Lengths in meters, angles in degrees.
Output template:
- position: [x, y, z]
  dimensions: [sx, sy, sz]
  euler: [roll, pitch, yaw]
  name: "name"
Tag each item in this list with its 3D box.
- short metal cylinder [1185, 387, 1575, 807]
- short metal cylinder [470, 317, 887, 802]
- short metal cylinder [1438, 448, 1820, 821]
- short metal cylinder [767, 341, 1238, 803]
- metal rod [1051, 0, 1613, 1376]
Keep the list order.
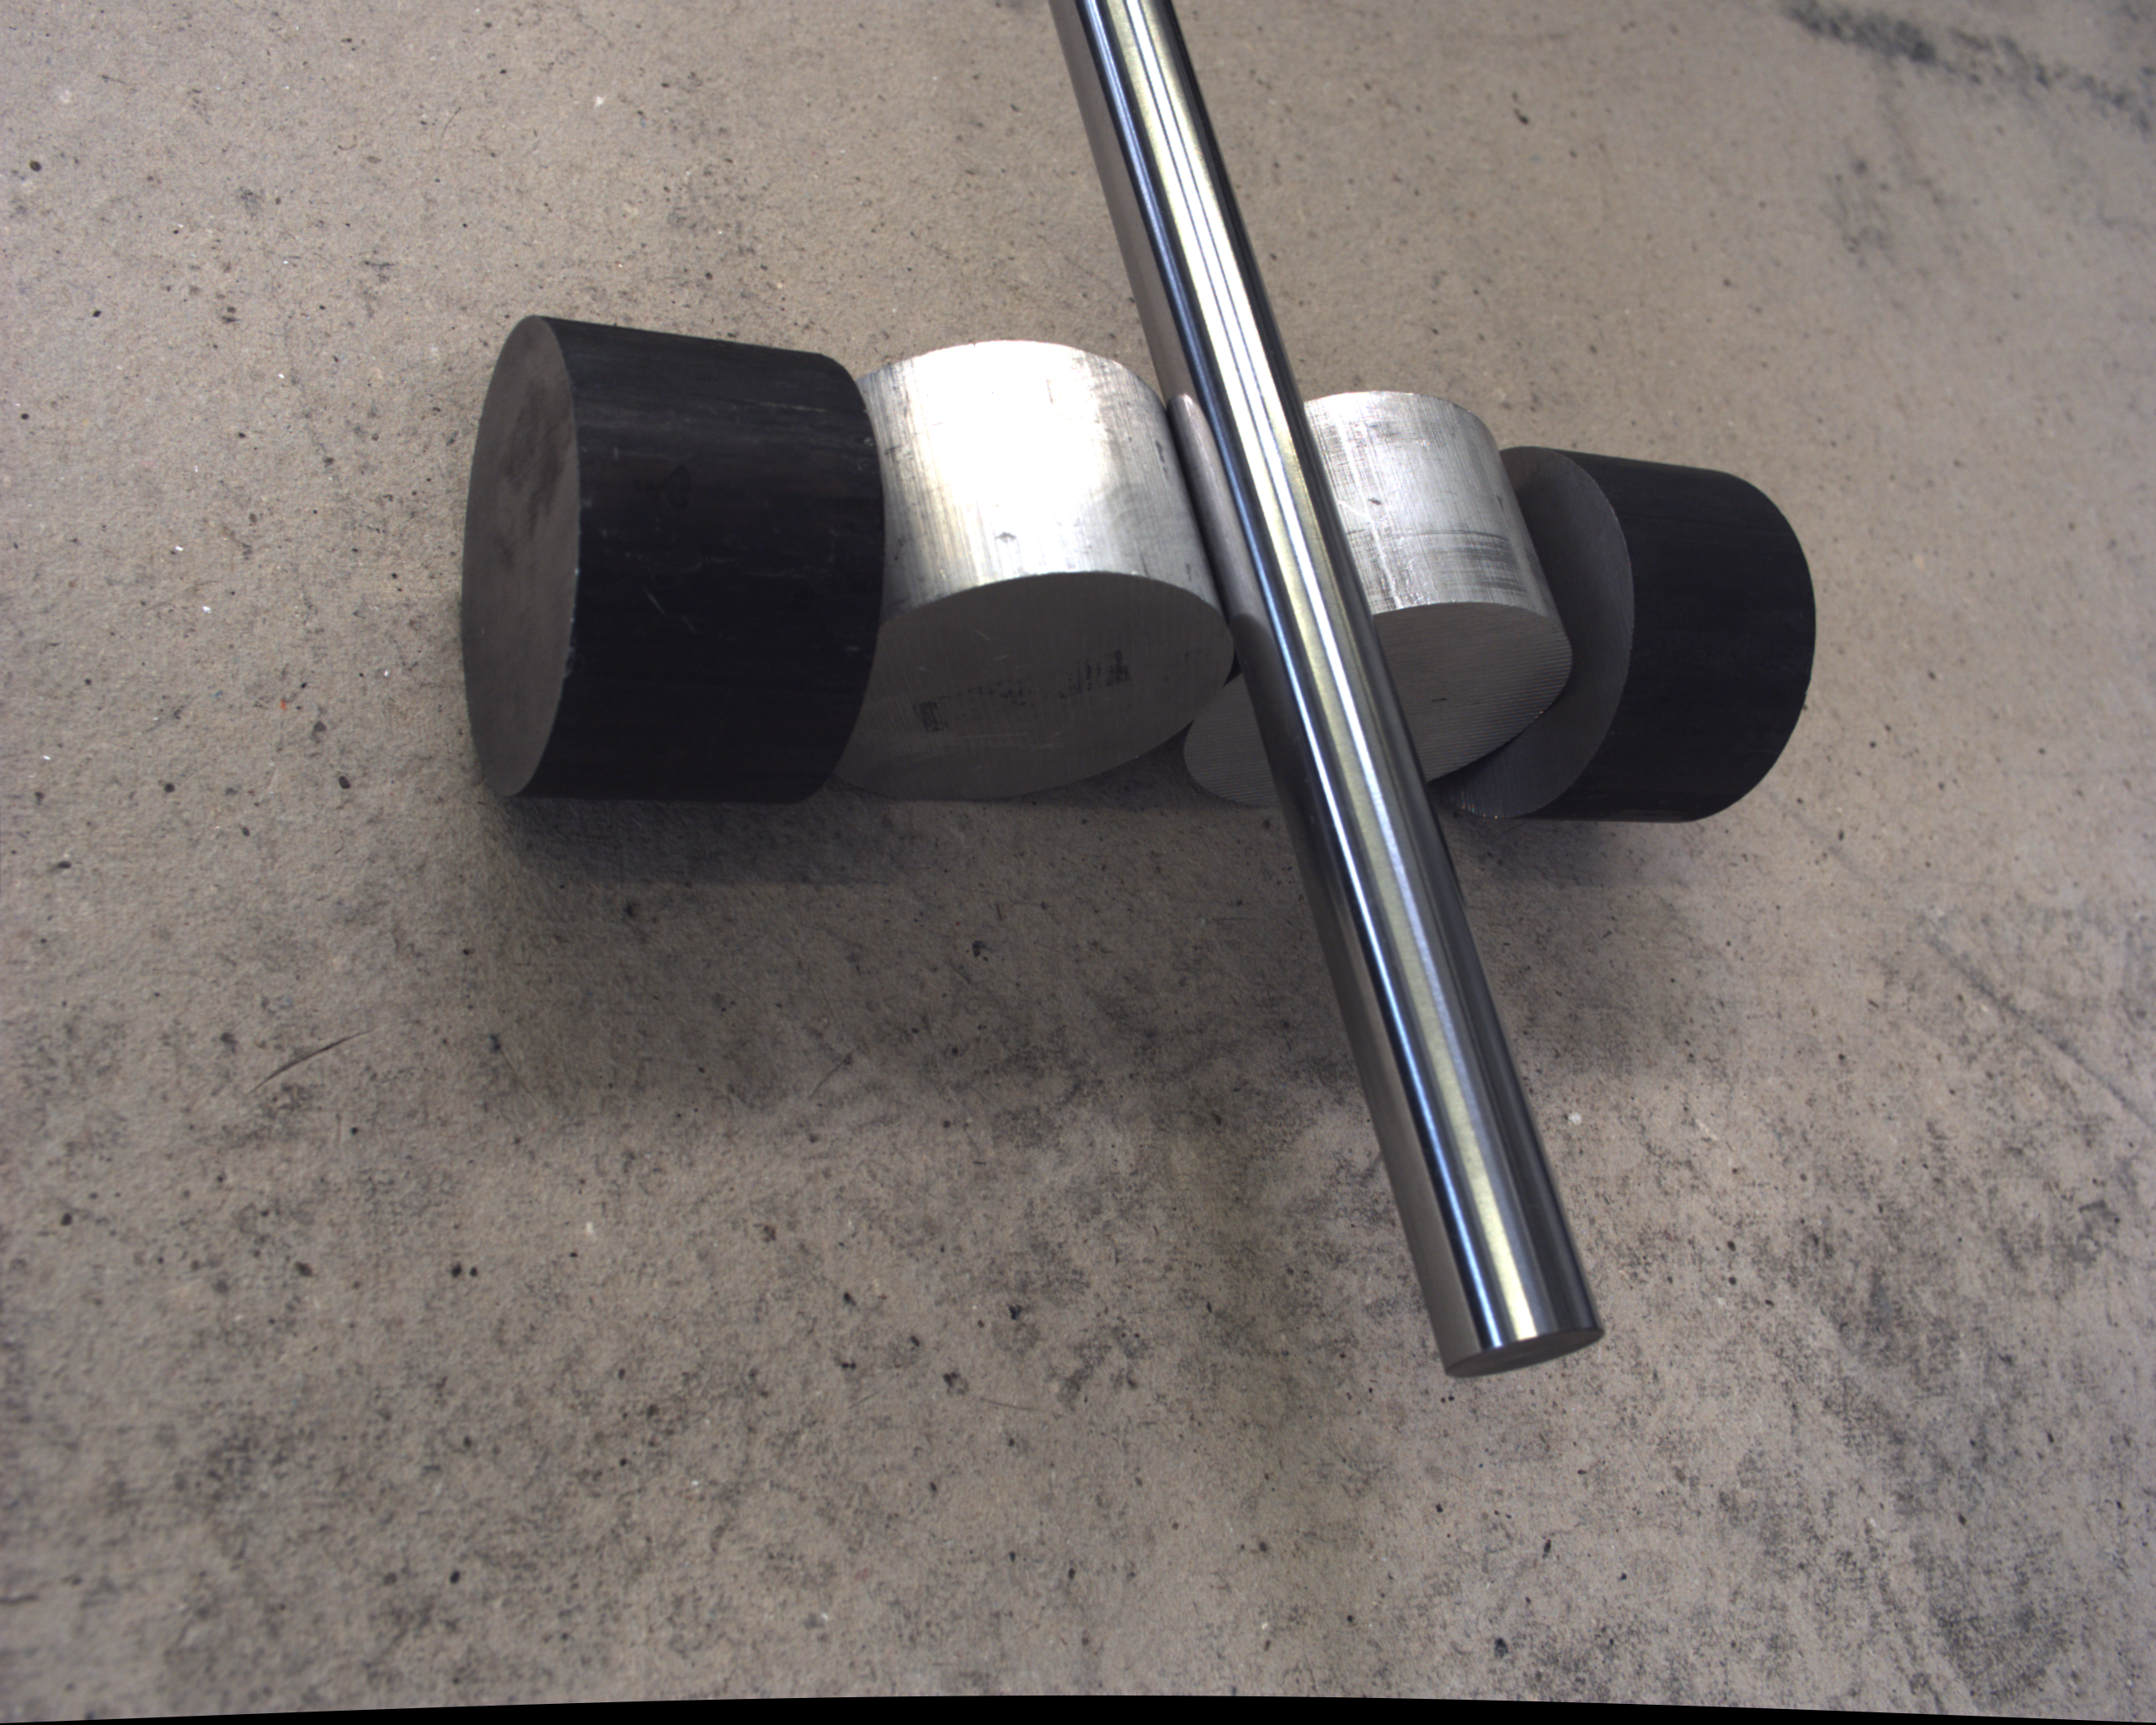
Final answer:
- position: [0.056, -0.053, 0.431]
  dimensions: [0.081, 0.080, 0.050]
  euler: [1, 62, -28]
  name: "short metal cylinder"
- position: [-0.072, -0.051, 0.362]
  dimensions: [0.050, 0.080, 0.080]
  euler: [1, 62, -28]
  name: "short metal cylinder"
- position: [0.115, -0.049, 0.461]
  dimensions: [0.050, 0.080, 0.080]
  euler: [1, 62, -28]
  name: "short metal cylinder"
- position: [-0.015, -0.052, 0.394]
  dimensions: [0.081, 0.080, 0.050]
  euler: [1, 62, -28]
  name: "short metal cylinder"
- position: [0.038, -0.057, 0.381]
  dimensions: [0.025, 0.025, 0.299]
  euler: [1, 61, -28]
  name: "metal rod"
